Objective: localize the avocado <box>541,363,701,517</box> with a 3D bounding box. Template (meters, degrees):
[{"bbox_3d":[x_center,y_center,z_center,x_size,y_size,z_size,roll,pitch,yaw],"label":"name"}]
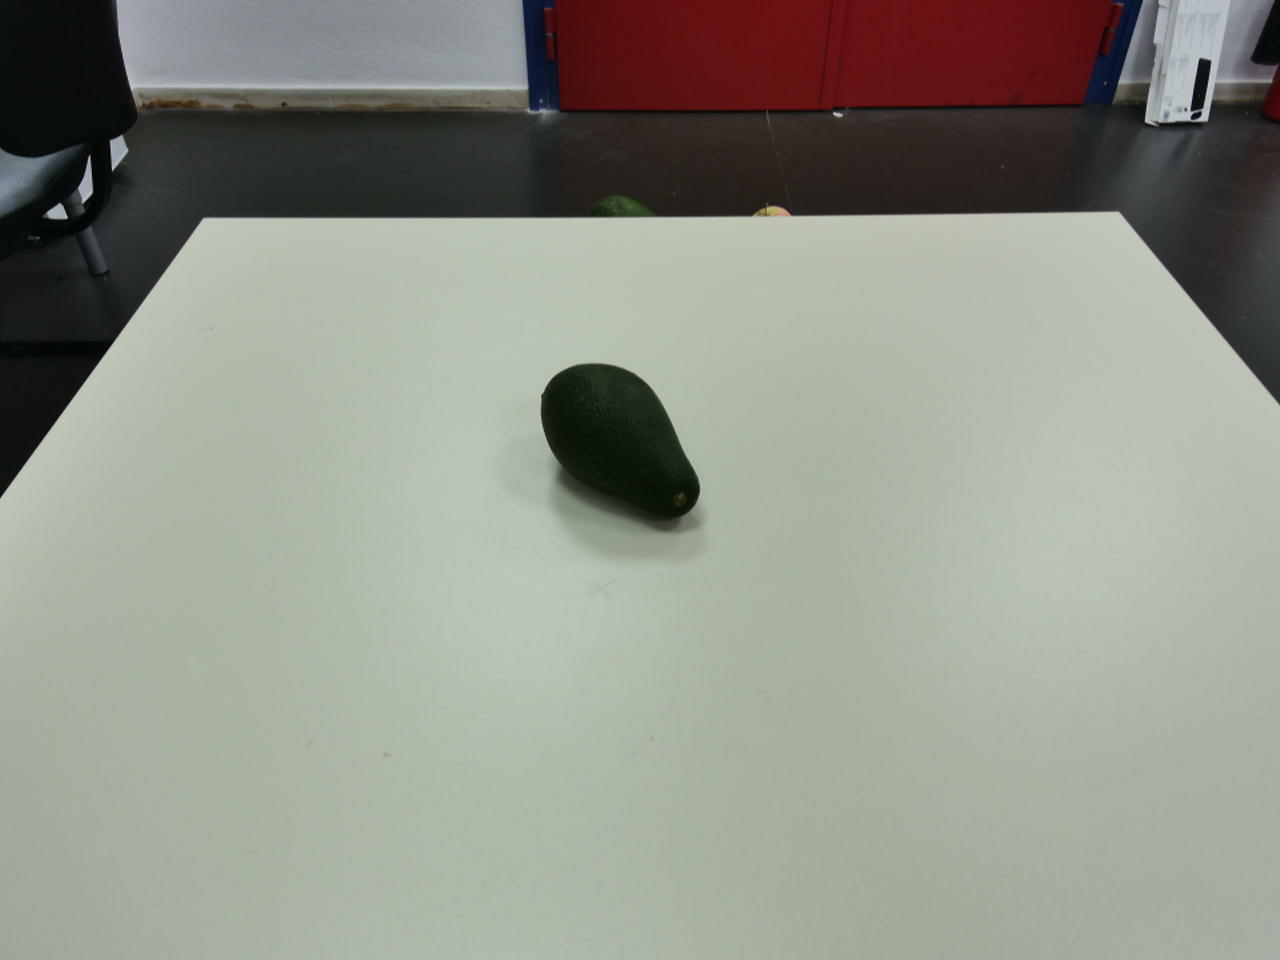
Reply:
[{"bbox_3d":[-0.015,-0.024,0.583,0.072,0.071,0.109,-15,41,-17],"label":"avocado"}]
